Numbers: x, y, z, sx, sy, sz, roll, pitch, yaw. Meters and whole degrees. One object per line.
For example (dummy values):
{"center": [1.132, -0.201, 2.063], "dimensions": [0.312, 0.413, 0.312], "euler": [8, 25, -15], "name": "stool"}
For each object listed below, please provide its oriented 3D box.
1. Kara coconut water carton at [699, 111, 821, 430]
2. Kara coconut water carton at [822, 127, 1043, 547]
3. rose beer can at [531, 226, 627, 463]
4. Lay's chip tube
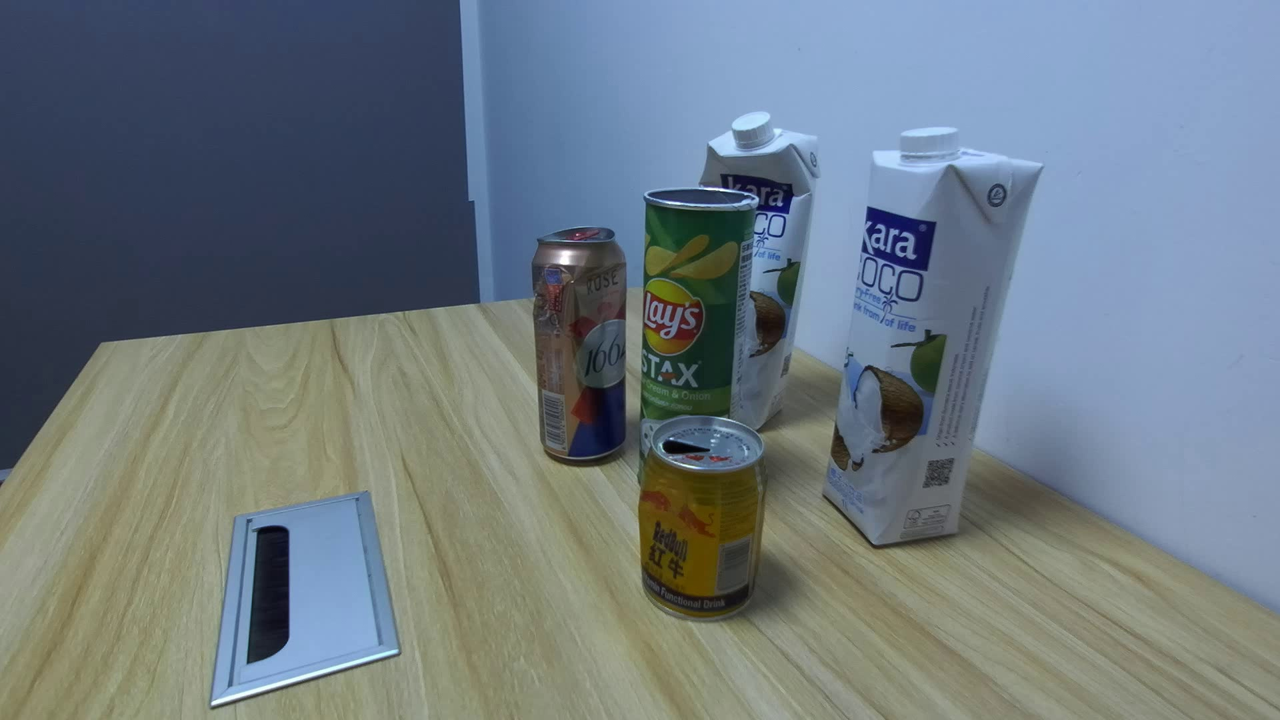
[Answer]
{"center": [0.088, -0.069, 0.566], "dimensions": [0.099, 0.244, 0.071], "euler": [9, 20, 26], "name": "Kara coconut water carton"}
{"center": [0.169, -0.011, 0.429], "dimensions": [0.075, 0.245, 0.077], "euler": [-4, 22, -16], "name": "Kara coconut water carton"}
{"center": [-0.045, -0.010, 0.523], "dimensions": [0.065, 0.167, 0.076], "euler": [17, 29, 41], "name": "rose beer can"}
{"center": [0.035, -0.009, 0.466], "dimensions": [0.071, 0.202, 0.071], "euler": [1, 23, 0], "name": "Lay's chip tube"}
